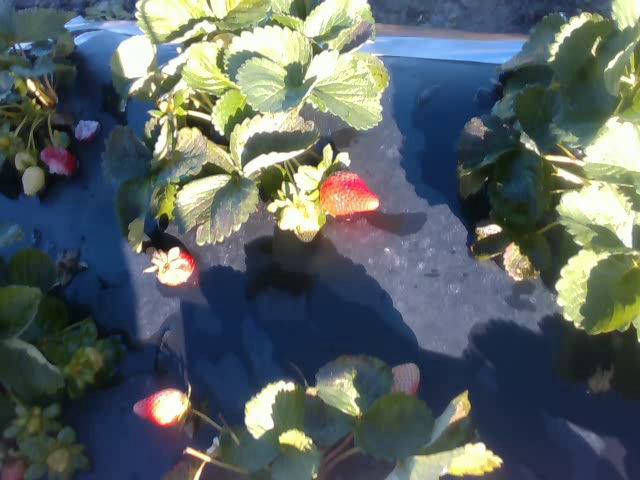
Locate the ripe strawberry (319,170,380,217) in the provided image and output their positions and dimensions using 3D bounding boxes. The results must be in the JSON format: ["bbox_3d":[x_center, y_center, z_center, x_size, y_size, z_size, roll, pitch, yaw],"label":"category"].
[{"bbox_3d":[0.030,-0.038,0.539,0.064,0.050,0.052,20,15,34],"label":"ripe strawberry"}]
